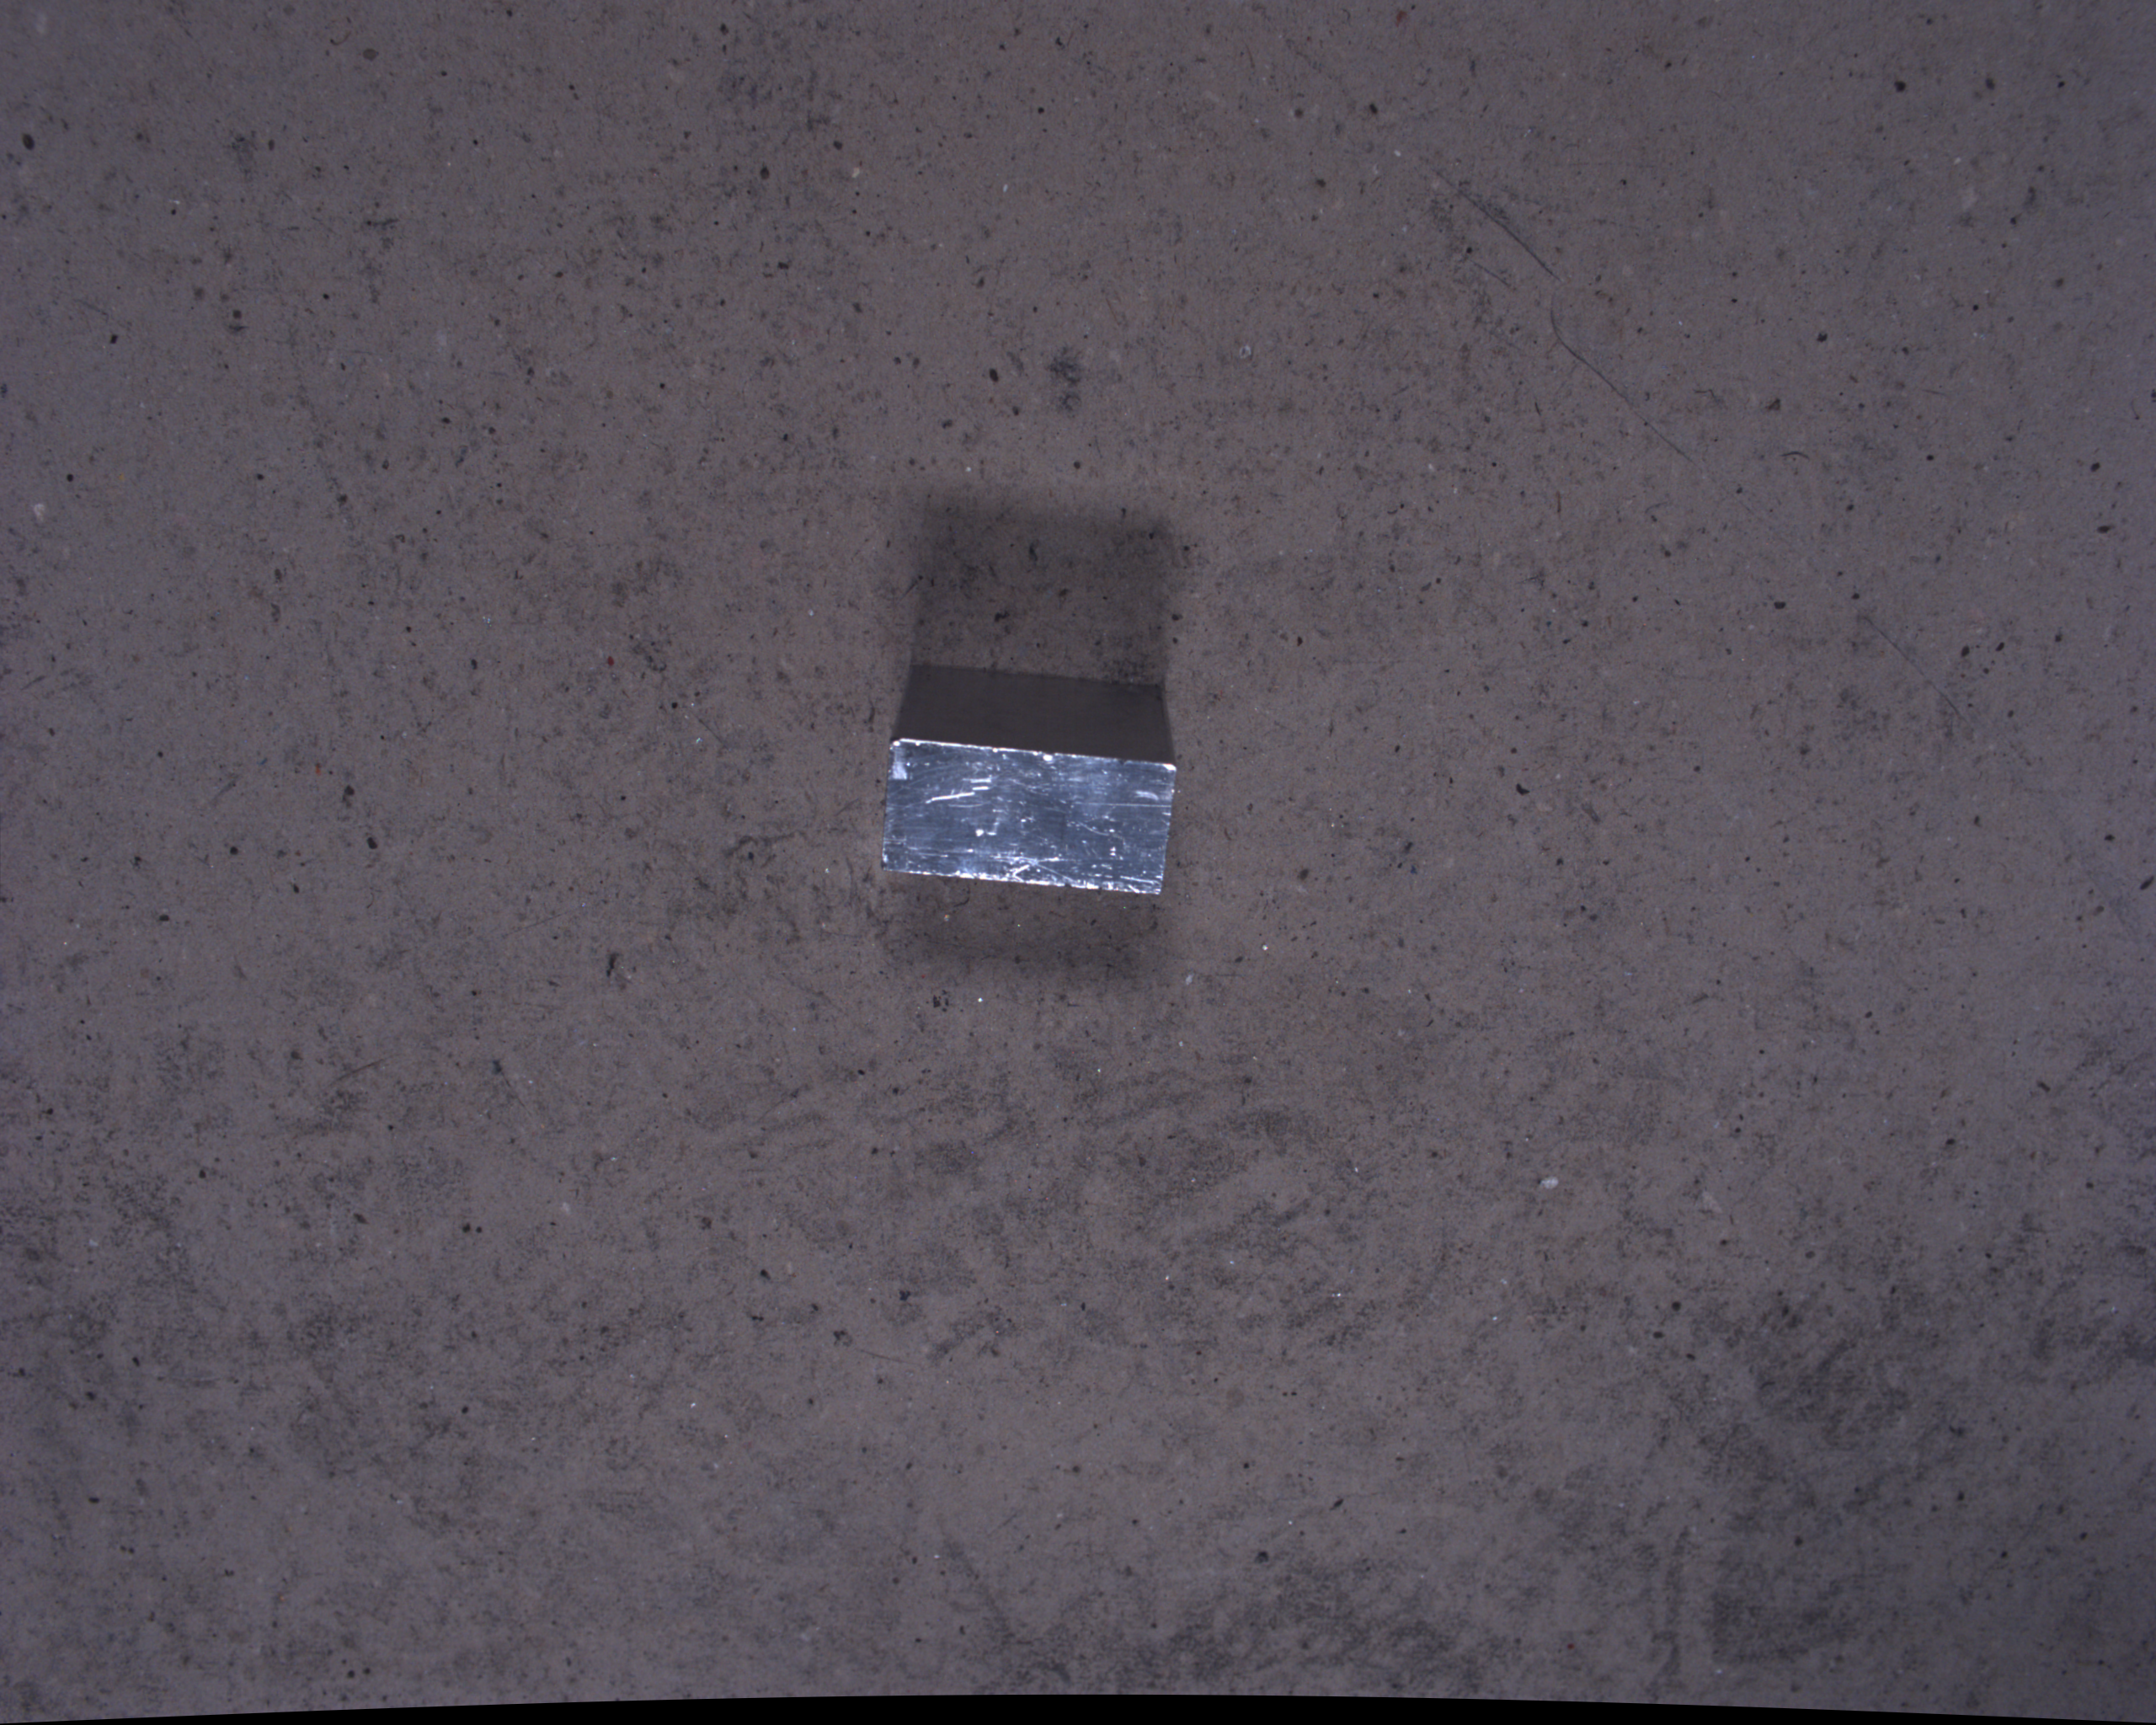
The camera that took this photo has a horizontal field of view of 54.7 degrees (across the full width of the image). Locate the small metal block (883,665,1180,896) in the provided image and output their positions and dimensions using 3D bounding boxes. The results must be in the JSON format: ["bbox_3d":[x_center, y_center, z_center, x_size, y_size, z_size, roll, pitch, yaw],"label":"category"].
[{"bbox_3d":[-0.009,-0.016,0.391,0.050,0.050,0.025,5,110,-2],"label":"small metal block"}]
